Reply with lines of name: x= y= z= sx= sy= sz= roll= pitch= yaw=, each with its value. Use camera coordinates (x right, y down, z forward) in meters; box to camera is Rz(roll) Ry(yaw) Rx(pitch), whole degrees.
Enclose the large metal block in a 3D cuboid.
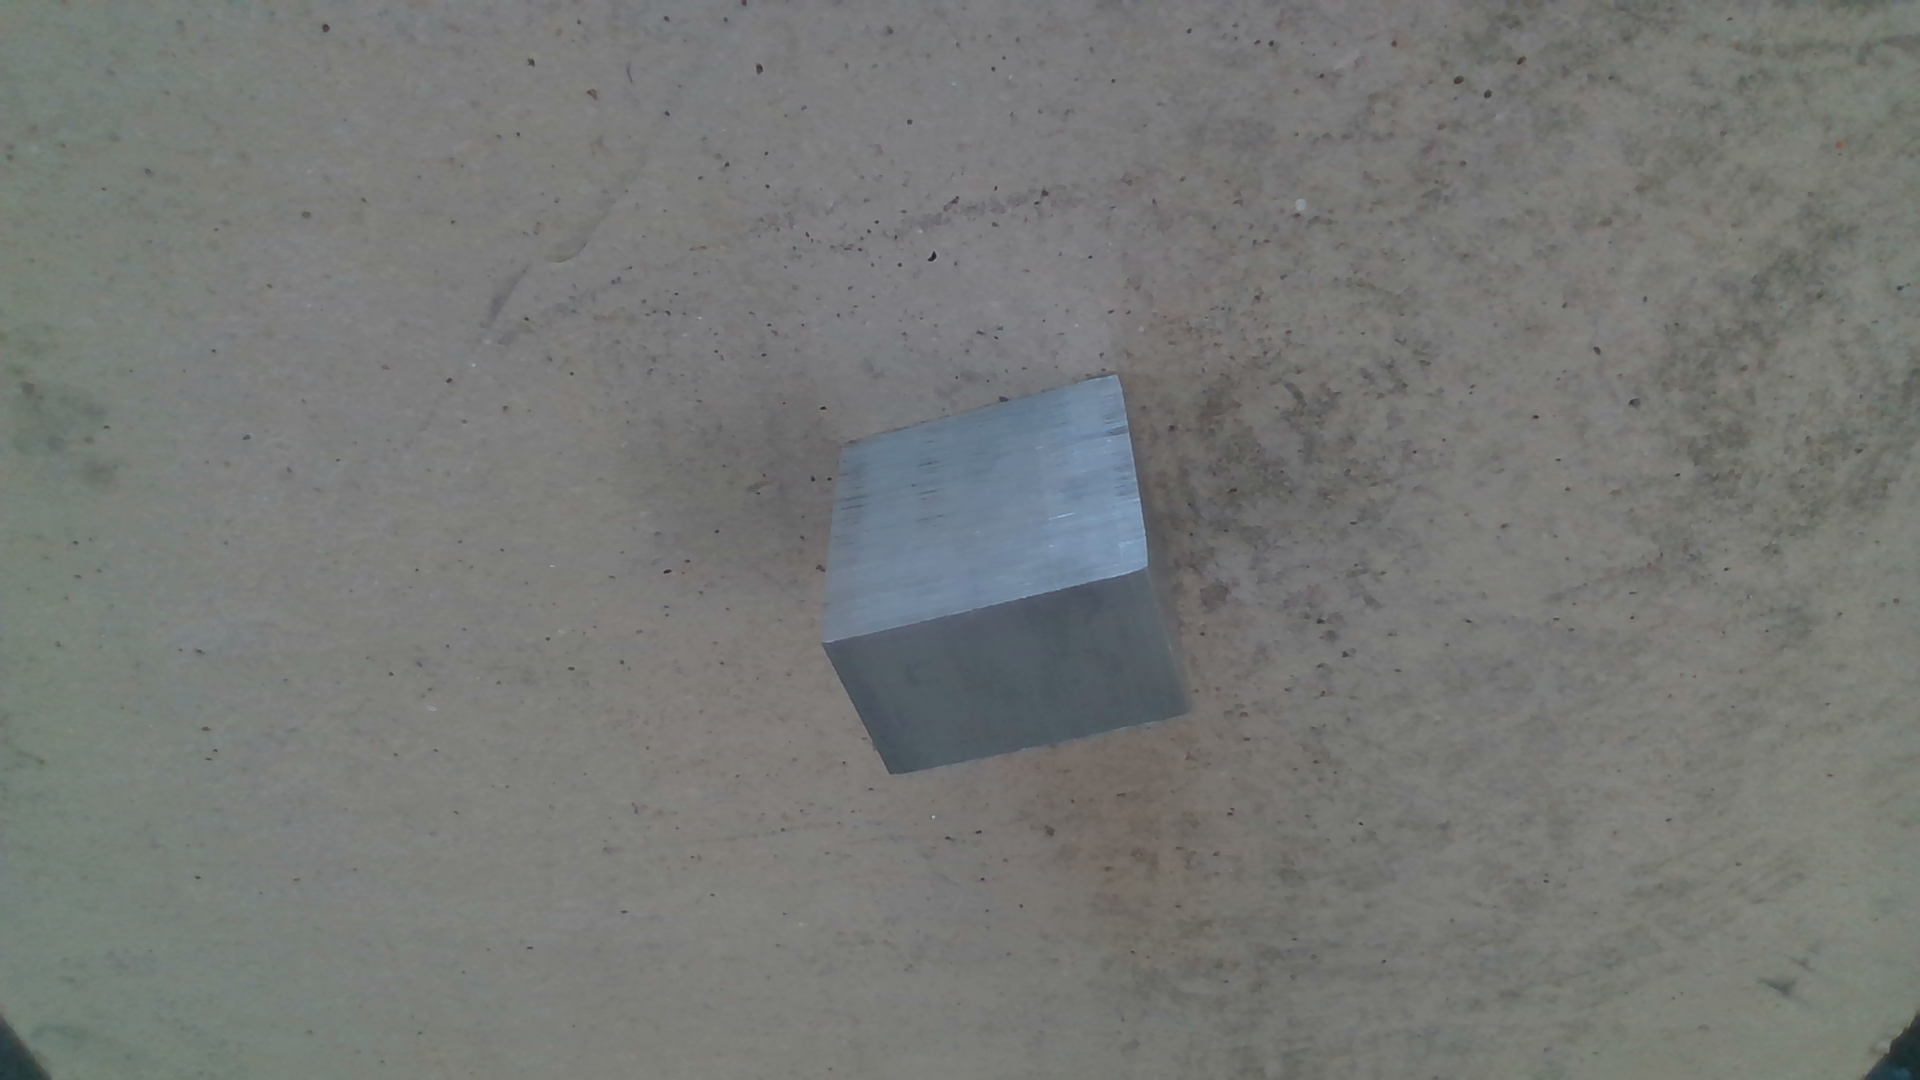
large metal block: x=0.011 y=0.008 z=0.359 sx=0.080 sy=0.080 sz=0.050 roll=-13 pitch=129 yaw=11
